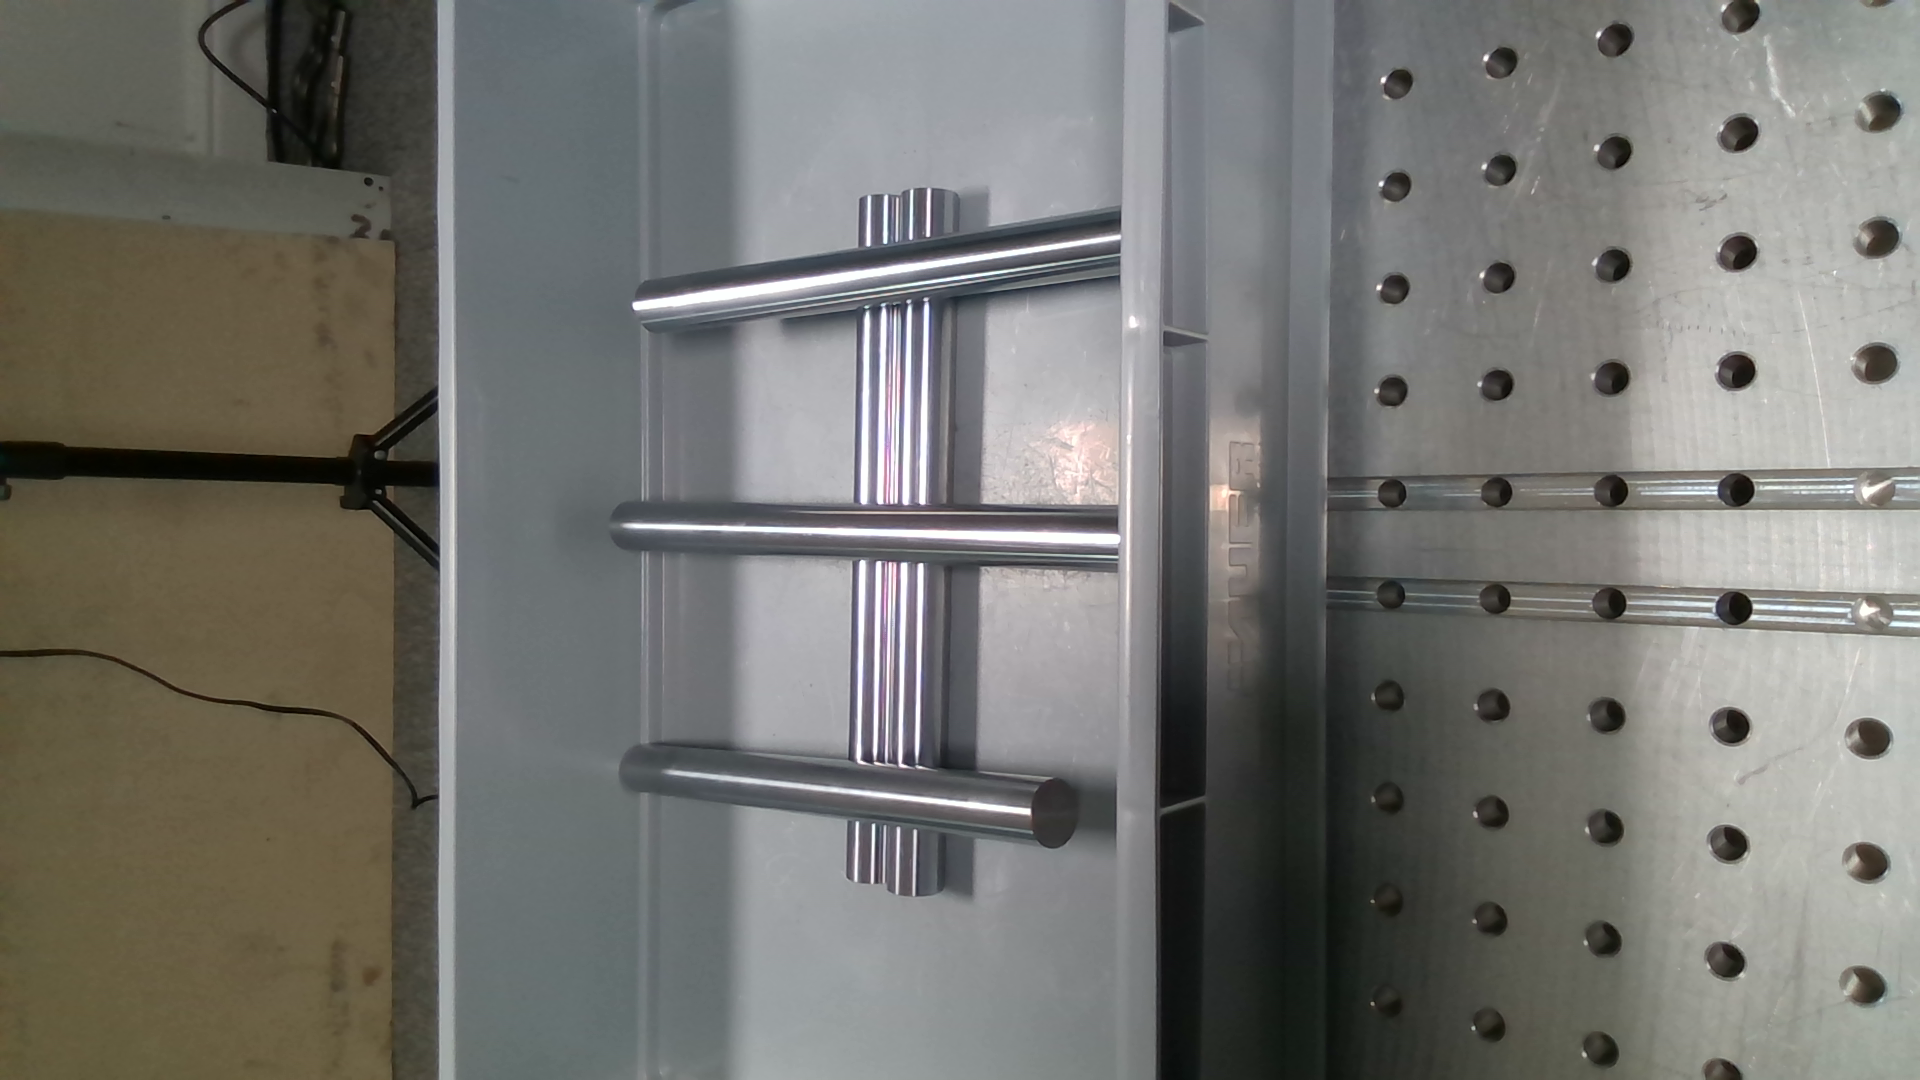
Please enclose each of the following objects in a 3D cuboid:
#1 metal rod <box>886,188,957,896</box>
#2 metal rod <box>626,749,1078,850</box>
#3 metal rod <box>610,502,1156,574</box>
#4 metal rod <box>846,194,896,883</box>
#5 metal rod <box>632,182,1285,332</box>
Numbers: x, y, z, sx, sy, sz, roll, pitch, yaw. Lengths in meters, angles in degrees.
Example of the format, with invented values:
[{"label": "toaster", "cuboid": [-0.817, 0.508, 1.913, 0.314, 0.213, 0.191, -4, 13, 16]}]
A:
[{"label": "metal rod", "cuboid": [-0.017, 0.002, 0.595, 0.025, 0.025, 0.300, 3, 92, 40]}, {"label": "metal rod", "cuboid": [-0.065, 0.109, 0.608, 0.300, 0.025, 0.025, -6, 86, 48]}, {"label": "metal rod", "cuboid": [-0.050, -0.004, 0.591, 0.300, 0.025, 0.025, 2, 91, 40]}, {"label": "metal rod", "cuboid": [-0.035, 0.000, 0.611, 0.025, 0.025, 0.300, 3, 92, 40]}, {"label": "metal rod", "cuboid": [-0.017, -0.110, 0.562, 0.300, 0.025, 0.025, -1, 90, 32]}]
